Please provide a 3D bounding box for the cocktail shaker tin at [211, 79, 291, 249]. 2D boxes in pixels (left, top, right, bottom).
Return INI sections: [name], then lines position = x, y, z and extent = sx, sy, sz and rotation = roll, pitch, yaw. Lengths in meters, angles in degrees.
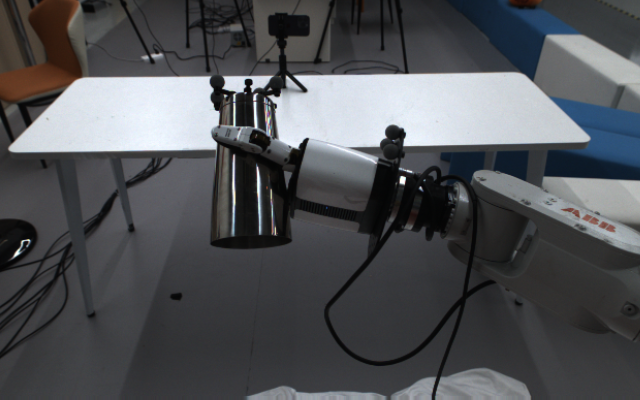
[cocktail shaker tin]
position = -0.082, -0.033, 0.565
extent = 0.093, 0.093, 0.170
rotation = -3, 76, -7
